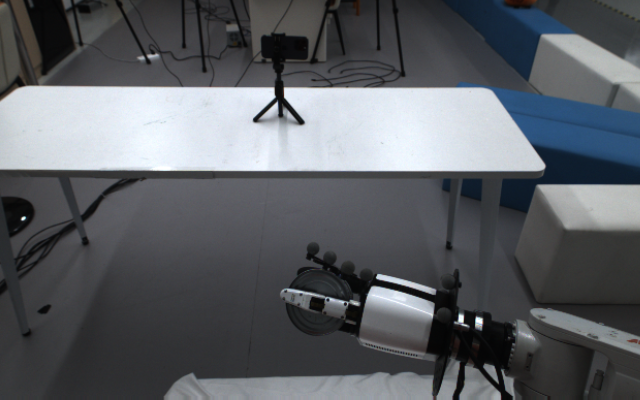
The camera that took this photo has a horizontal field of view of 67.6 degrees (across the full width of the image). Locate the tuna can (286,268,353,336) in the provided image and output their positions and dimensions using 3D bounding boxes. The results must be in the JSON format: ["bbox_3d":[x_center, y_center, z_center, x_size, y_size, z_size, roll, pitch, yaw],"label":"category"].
[{"bbox_3d":[0.003,0.131,0.636,0.085,0.085,0.034,14,-7,16],"label":"tuna can"}]
